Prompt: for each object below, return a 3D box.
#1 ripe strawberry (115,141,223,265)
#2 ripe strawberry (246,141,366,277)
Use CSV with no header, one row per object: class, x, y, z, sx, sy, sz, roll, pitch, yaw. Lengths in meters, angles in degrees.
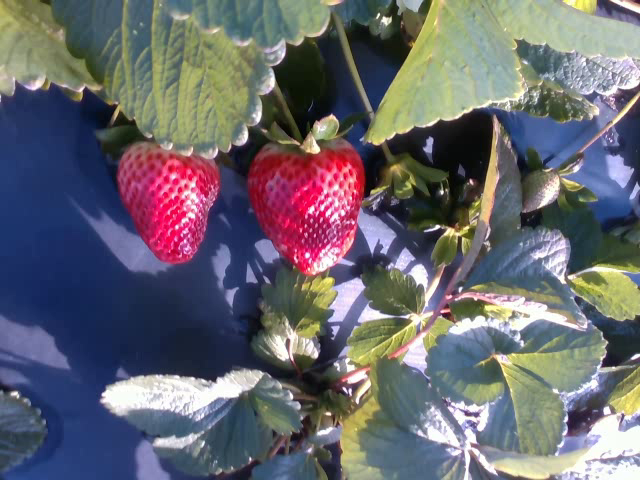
ripe strawberry,-0.056,-0.012,0.218,0.043,0.052,0.036,-9,8,18
ripe strawberry,-0.002,-0.011,0.234,0.052,0.058,0.046,-4,7,10
